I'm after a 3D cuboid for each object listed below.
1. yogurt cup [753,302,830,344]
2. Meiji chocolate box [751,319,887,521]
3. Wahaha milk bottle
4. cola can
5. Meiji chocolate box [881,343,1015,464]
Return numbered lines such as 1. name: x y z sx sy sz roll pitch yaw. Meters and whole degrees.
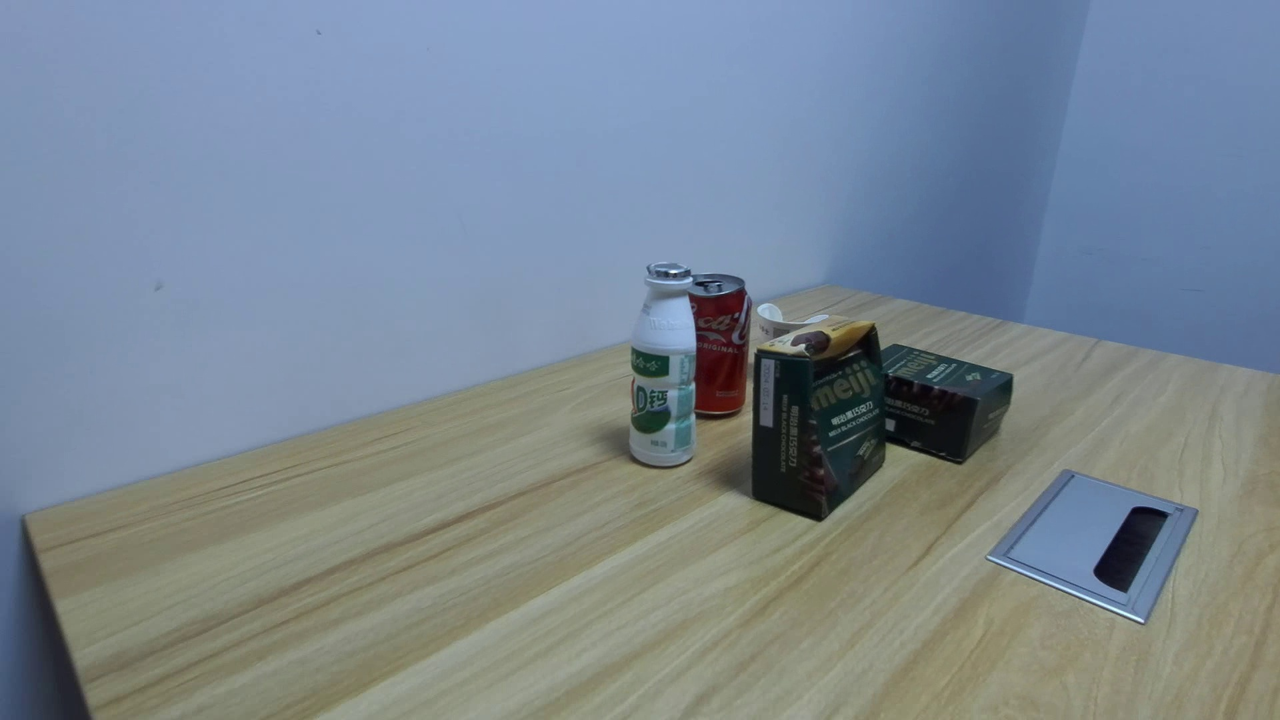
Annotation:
1. yogurt cup: 0.141 -0.013 0.679 0.067 0.070 0.067 3 22 -1
2. Meiji chocolate box: 0.128 0.034 0.494 0.051 0.117 0.118 7 18 39
3. Wahaha milk bottle: 0.020 0.004 0.517 0.056 0.147 0.056 1 18 0
4. cola can: 0.063 -0.012 0.611 0.072 0.117 0.066 13 20 33
5. Meiji chocolate box: 0.242 0.032 0.598 0.122 0.058 0.116 18 23 36
